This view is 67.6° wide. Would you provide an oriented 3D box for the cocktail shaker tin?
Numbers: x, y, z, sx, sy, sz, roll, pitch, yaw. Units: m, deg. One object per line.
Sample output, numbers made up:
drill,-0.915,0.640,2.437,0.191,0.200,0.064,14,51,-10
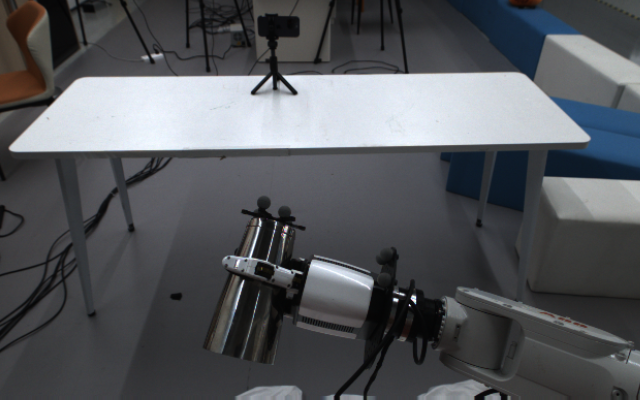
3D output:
cocktail shaker tin,-0.083,0.115,0.623,0.093,0.093,0.170,11,74,12
